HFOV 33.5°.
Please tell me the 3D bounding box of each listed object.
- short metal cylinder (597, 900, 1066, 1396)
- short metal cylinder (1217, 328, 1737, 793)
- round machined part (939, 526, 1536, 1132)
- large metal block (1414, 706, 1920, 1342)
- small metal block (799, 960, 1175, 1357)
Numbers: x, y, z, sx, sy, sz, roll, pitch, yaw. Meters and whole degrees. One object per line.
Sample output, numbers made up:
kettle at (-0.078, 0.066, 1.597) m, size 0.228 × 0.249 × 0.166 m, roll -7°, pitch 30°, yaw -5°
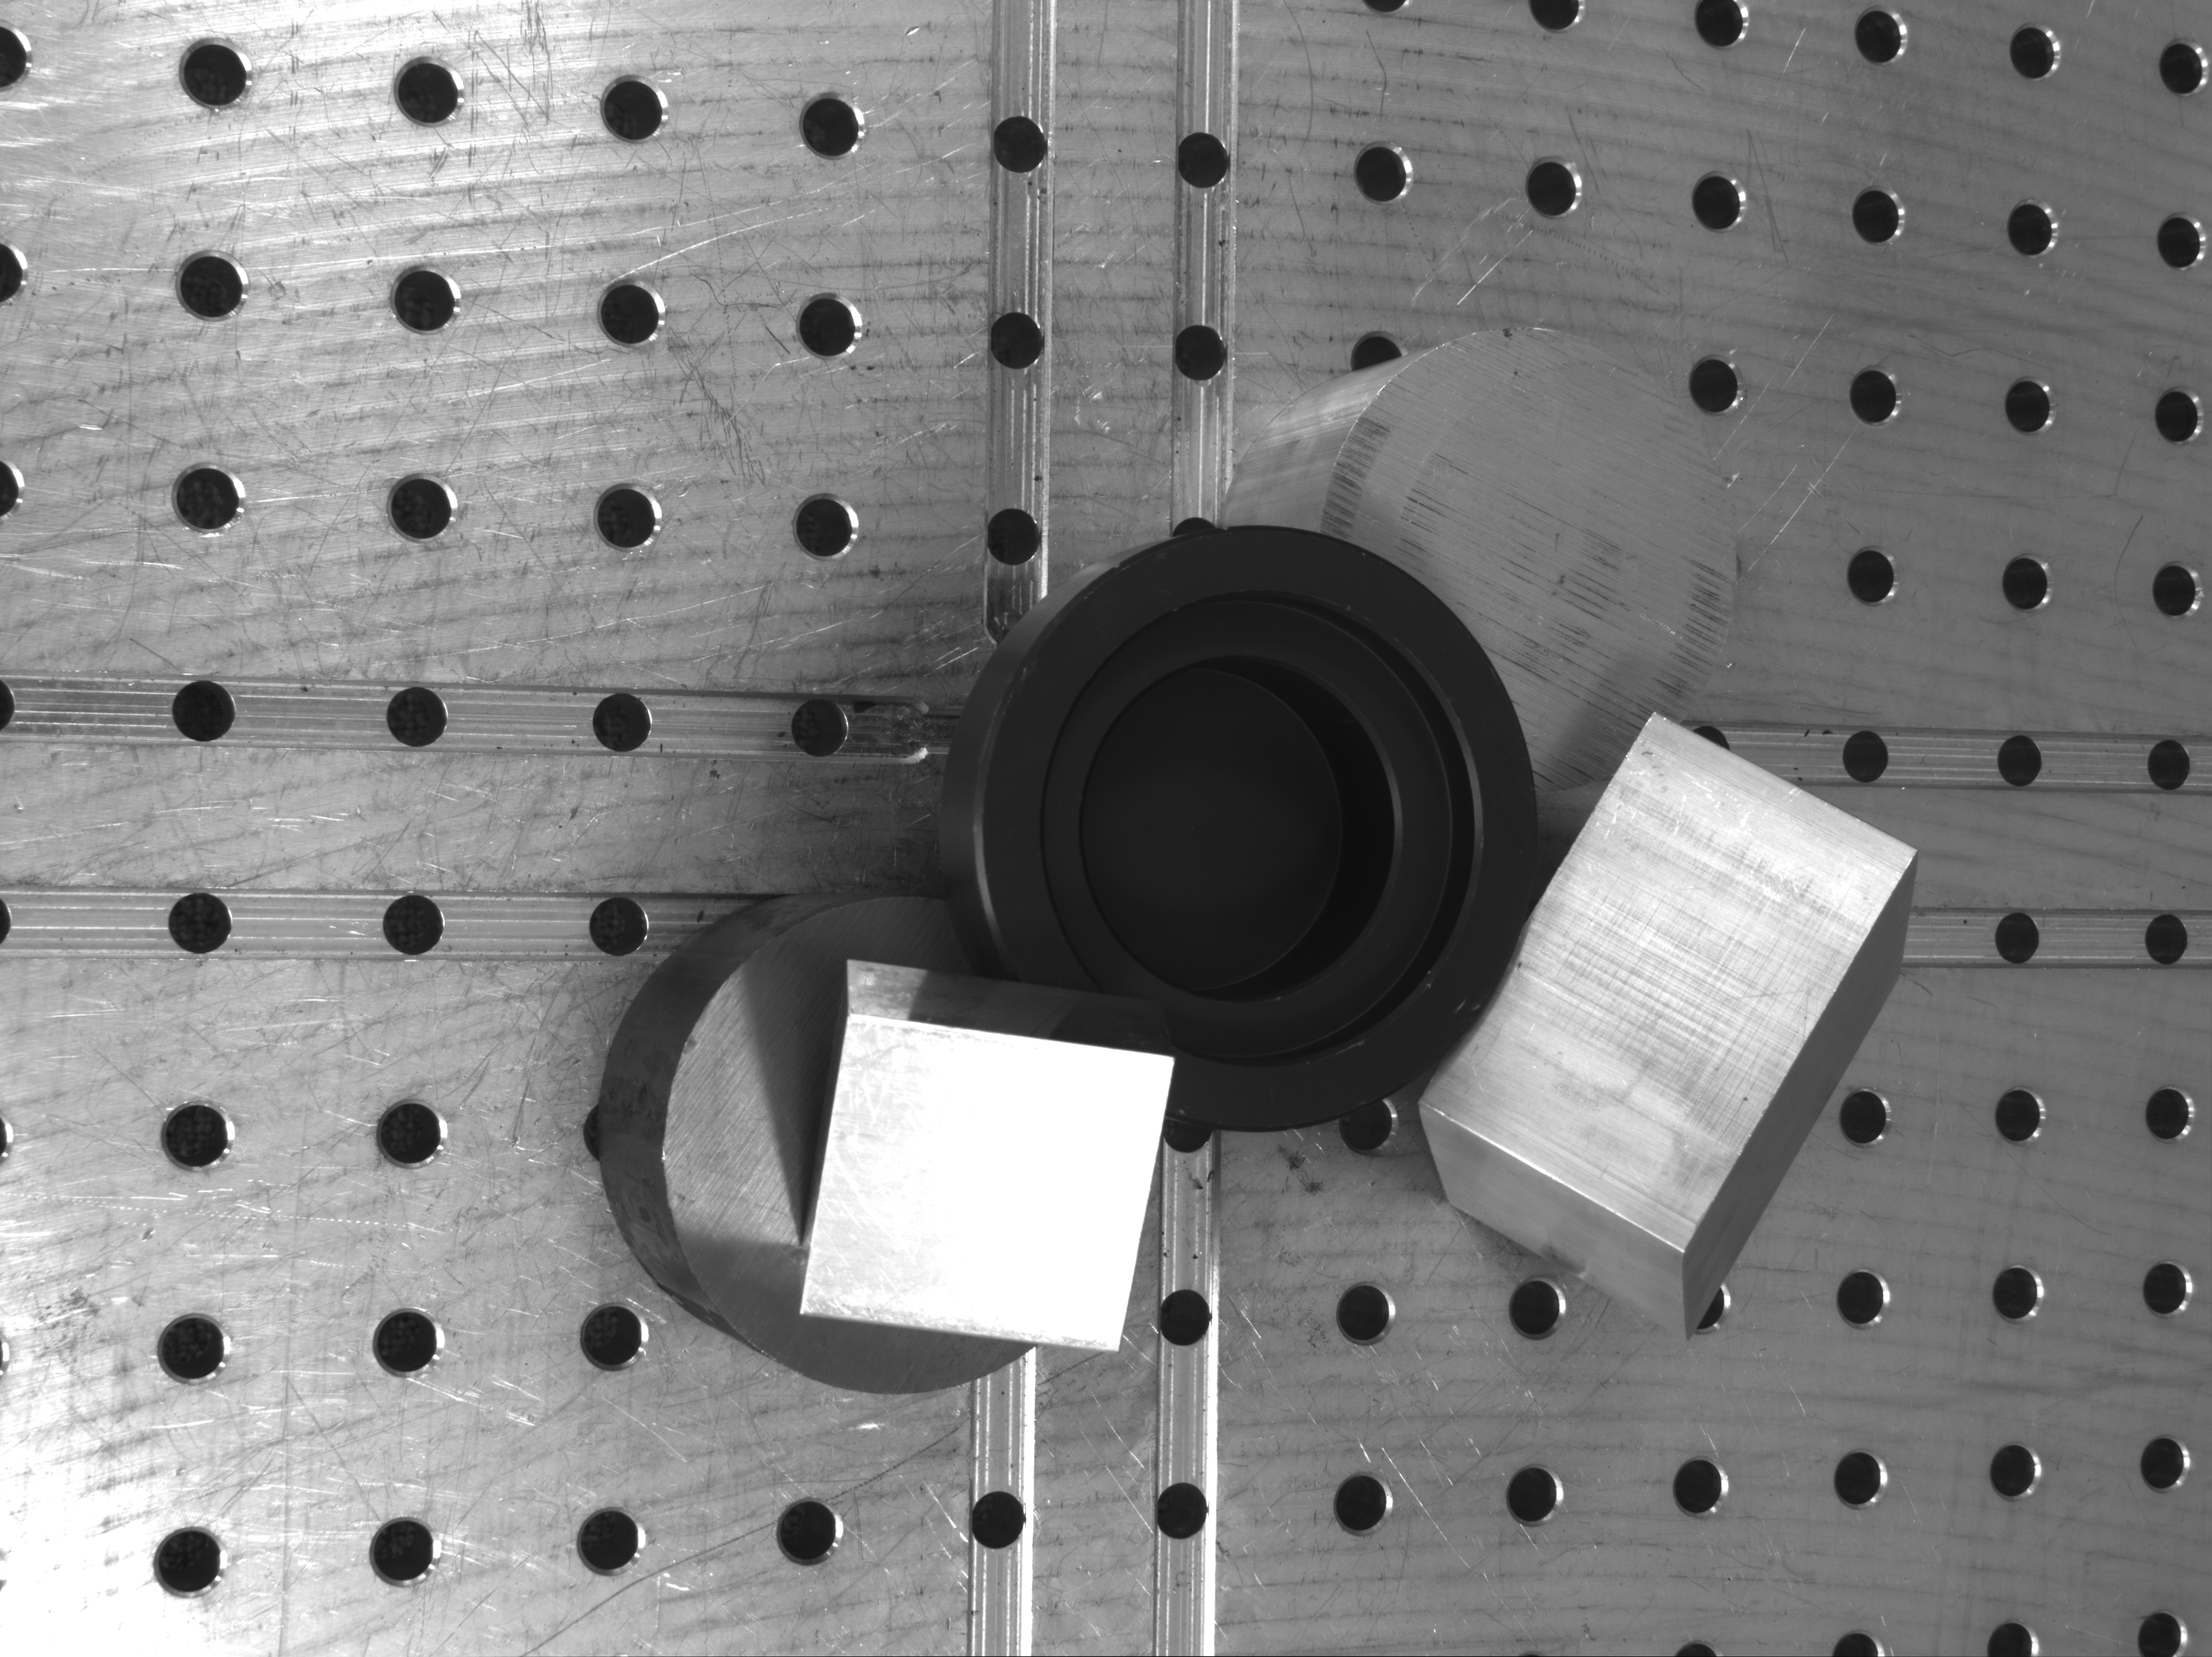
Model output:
short metal cylinder at (-0.041, 0.052, 0.618) m, size 0.080 × 0.050 × 0.080 m, roll 0°, pitch 90°, yaw -20°
short metal cylinder at (0.065, -0.046, 0.656) m, size 0.080 × 0.050 × 0.080 m, roll 0°, pitch 90°, yaw -20°
round machined part at (0.019, 0.000, 0.613) m, size 0.098 × 0.042 × 0.098 m, roll 0°, pitch 90°, yaw -20°
large metal block at (0.099, 0.037, 0.646) m, size 0.050 × 0.080 × 0.080 m, roll 29°, pitch 78°, yaw 17°
small metal block at (-0.019, 0.051, 0.573) m, size 0.050 × 0.025 × 0.050 m, roll 8°, pitch 107°, yaw -8°
